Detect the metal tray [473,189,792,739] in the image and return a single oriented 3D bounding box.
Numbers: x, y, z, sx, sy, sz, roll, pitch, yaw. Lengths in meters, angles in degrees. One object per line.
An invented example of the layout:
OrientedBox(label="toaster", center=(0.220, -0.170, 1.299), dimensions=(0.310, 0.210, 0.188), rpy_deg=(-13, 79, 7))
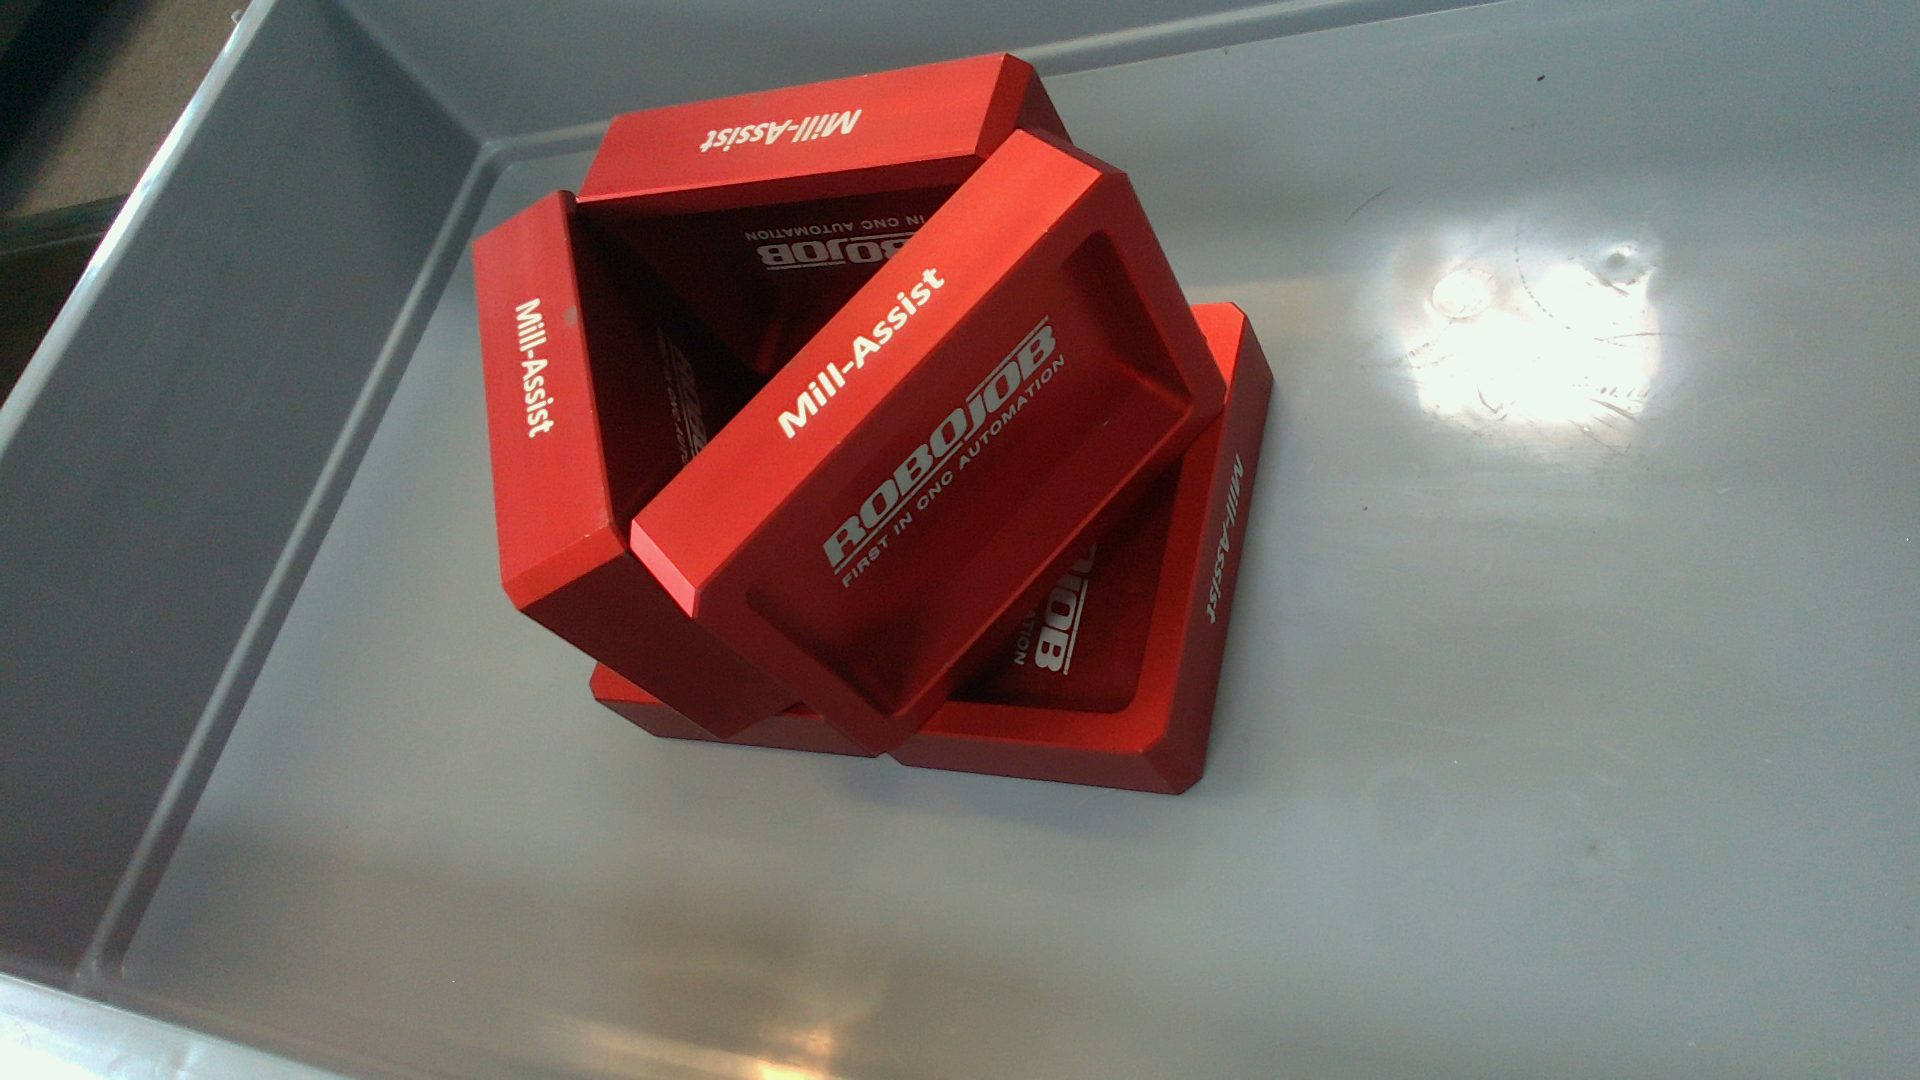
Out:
OrientedBox(label="metal tray", center=(-0.086, -0.021, 0.370), dimensions=(0.030, 0.090, 0.130), rpy_deg=(-28, 52, 12))

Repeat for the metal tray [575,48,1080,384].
OrientedBox(label="metal tray", center=(-0.026, -0.081, 0.374), dimensions=(0.130, 0.090, 0.030), rpy_deg=(2, 63, 30))

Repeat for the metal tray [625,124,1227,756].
OrientedBox(label="metal tray", center=(-0.002, -0.019, 0.323), dimensions=(0.130, 0.090, 0.030), rpy_deg=(-46, 51, -4))

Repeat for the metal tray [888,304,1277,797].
OrientedBox(label="metal tray", center=(0.029, -0.001, 0.374), dimensions=(0.090, 0.030, 0.130), rpy_deg=(1, 61, 29))

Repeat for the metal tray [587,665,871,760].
OrientedBox(label="metal tray", center=(-0.050, -0.002, 0.419), dimensions=(0.090, 0.030, 0.130), rpy_deg=(0, 61, 29))
